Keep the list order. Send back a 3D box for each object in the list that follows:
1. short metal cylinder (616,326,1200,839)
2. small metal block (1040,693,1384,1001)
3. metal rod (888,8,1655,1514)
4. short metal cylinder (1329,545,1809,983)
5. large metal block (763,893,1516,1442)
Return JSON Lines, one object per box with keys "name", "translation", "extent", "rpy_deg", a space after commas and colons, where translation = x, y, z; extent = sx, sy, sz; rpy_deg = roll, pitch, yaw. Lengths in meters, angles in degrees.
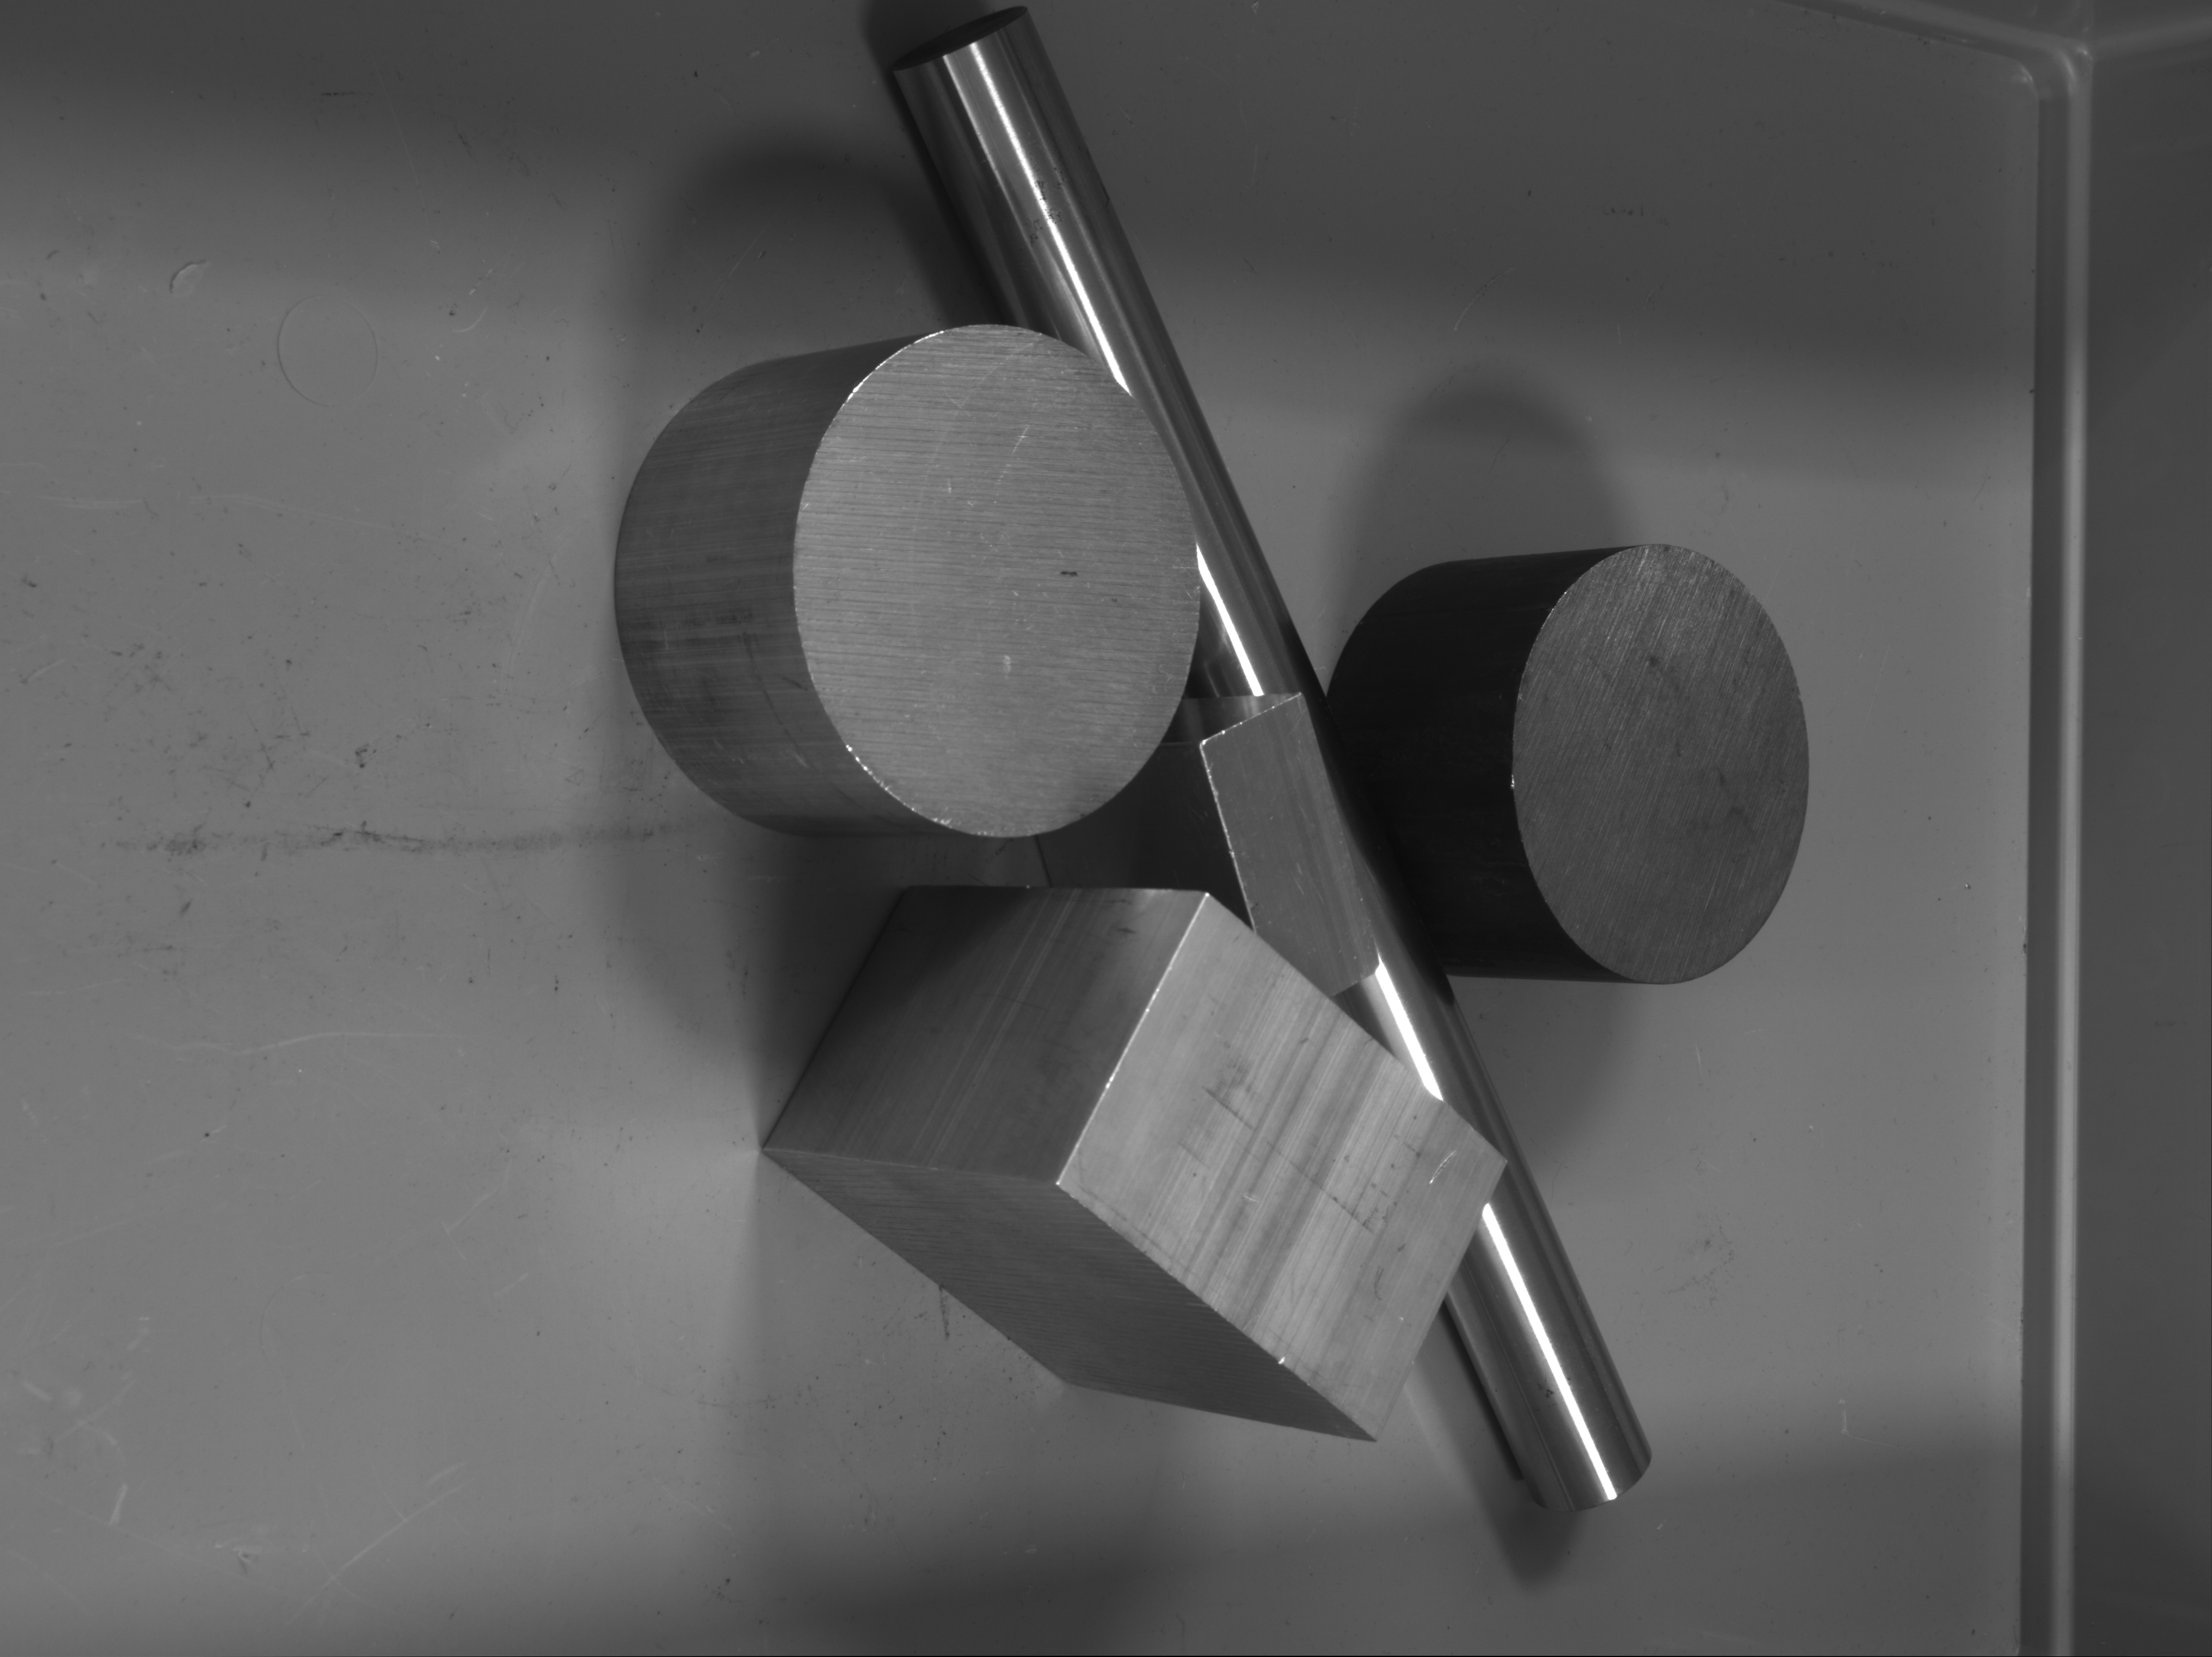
{"name": "short metal cylinder", "translation": [-0.031, -0.038, 0.592], "extent": [0.080, 0.050, 0.080], "rpy_deg": [0, 90, -40]}
{"name": "small metal block", "translation": [0.015, 0.005, 0.631], "extent": [0.025, 0.050, 0.050], "rpy_deg": [-27, 107, -37]}
{"name": "metal rod", "translation": [0.035, -0.003, 0.663], "extent": [0.025, 0.025, 0.300], "rpy_deg": [-38, 113, -33]}
{"name": "short metal cylinder", "translation": [0.087, -0.012, 0.690], "extent": [0.080, 0.050, 0.080], "rpy_deg": [0, 90, -40]}
{"name": "large metal block", "translation": [0.005, 0.054, 0.602], "extent": [0.080, 0.080, 0.050], "rpy_deg": [41, 66, -31]}
